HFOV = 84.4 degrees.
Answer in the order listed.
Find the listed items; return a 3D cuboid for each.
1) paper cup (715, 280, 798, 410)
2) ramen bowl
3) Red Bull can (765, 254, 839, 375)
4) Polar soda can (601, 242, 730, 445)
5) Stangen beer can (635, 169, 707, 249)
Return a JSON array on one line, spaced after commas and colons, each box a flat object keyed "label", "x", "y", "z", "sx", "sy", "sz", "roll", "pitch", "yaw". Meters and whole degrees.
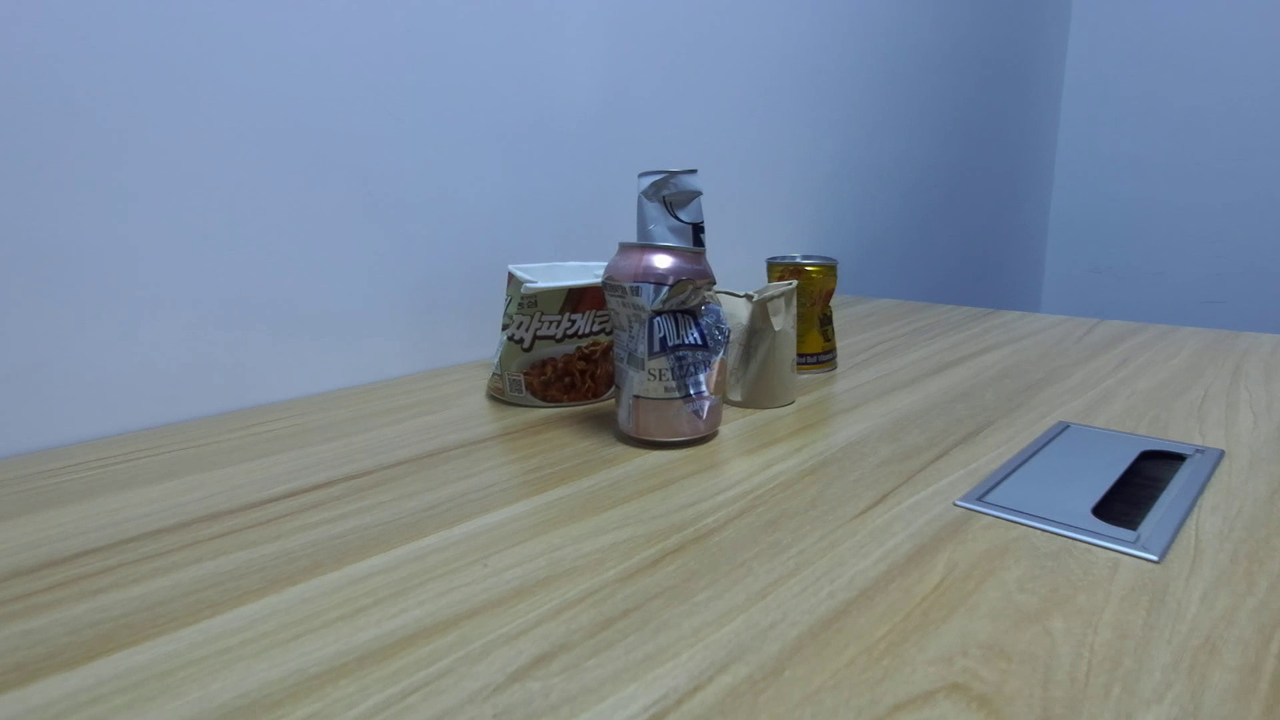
[{"label": "paper cup", "x": 0.082, "y": -0.011, "z": 0.506, "sx": 0.058, "sy": 0.083, "sz": 0.066, "roll": 0, "pitch": 12, "yaw": 16}, {"label": "ramen bowl", "x": -0.064, "y": -0.020, "z": 0.538, "sx": 0.111, "sy": 0.093, "sz": 0.128, "roll": 0, "pitch": 14, "yaw": 5}, {"label": "Red Bull can", "x": 0.135, "y": -0.040, "z": 0.595, "sx": 0.072, "sy": 0.092, "sz": 0.072, "roll": -1, "pitch": 14, "yaw": 1}, {"label": "Polar soda can", "x": 0.017, "y": -0.011, "z": 0.438, "sx": 0.071, "sy": 0.121, "sz": 0.066, "roll": -7, "pitch": 9, "yaw": -30}, {"label": "Stangen beer can", "x": 0.030, "y": -0.089, "z": 0.644, "sx": 0.066, "sy": 0.166, "sz": 0.066, "roll": -3, "pitch": 17, "yaw": -1}]
